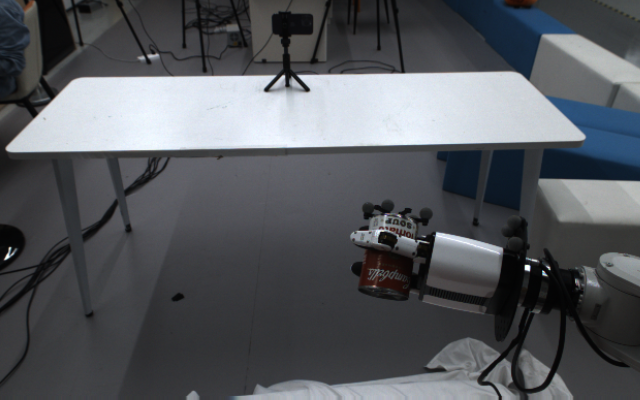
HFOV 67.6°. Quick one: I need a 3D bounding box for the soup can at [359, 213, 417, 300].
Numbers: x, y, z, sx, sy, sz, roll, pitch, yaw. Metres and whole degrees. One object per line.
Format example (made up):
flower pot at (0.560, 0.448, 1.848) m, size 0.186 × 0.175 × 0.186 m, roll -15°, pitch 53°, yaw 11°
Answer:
soup can at (0.093, 0.075, 0.640) m, size 0.067 × 0.067 × 0.101 m, roll 9°, pitch 70°, yaw 10°
